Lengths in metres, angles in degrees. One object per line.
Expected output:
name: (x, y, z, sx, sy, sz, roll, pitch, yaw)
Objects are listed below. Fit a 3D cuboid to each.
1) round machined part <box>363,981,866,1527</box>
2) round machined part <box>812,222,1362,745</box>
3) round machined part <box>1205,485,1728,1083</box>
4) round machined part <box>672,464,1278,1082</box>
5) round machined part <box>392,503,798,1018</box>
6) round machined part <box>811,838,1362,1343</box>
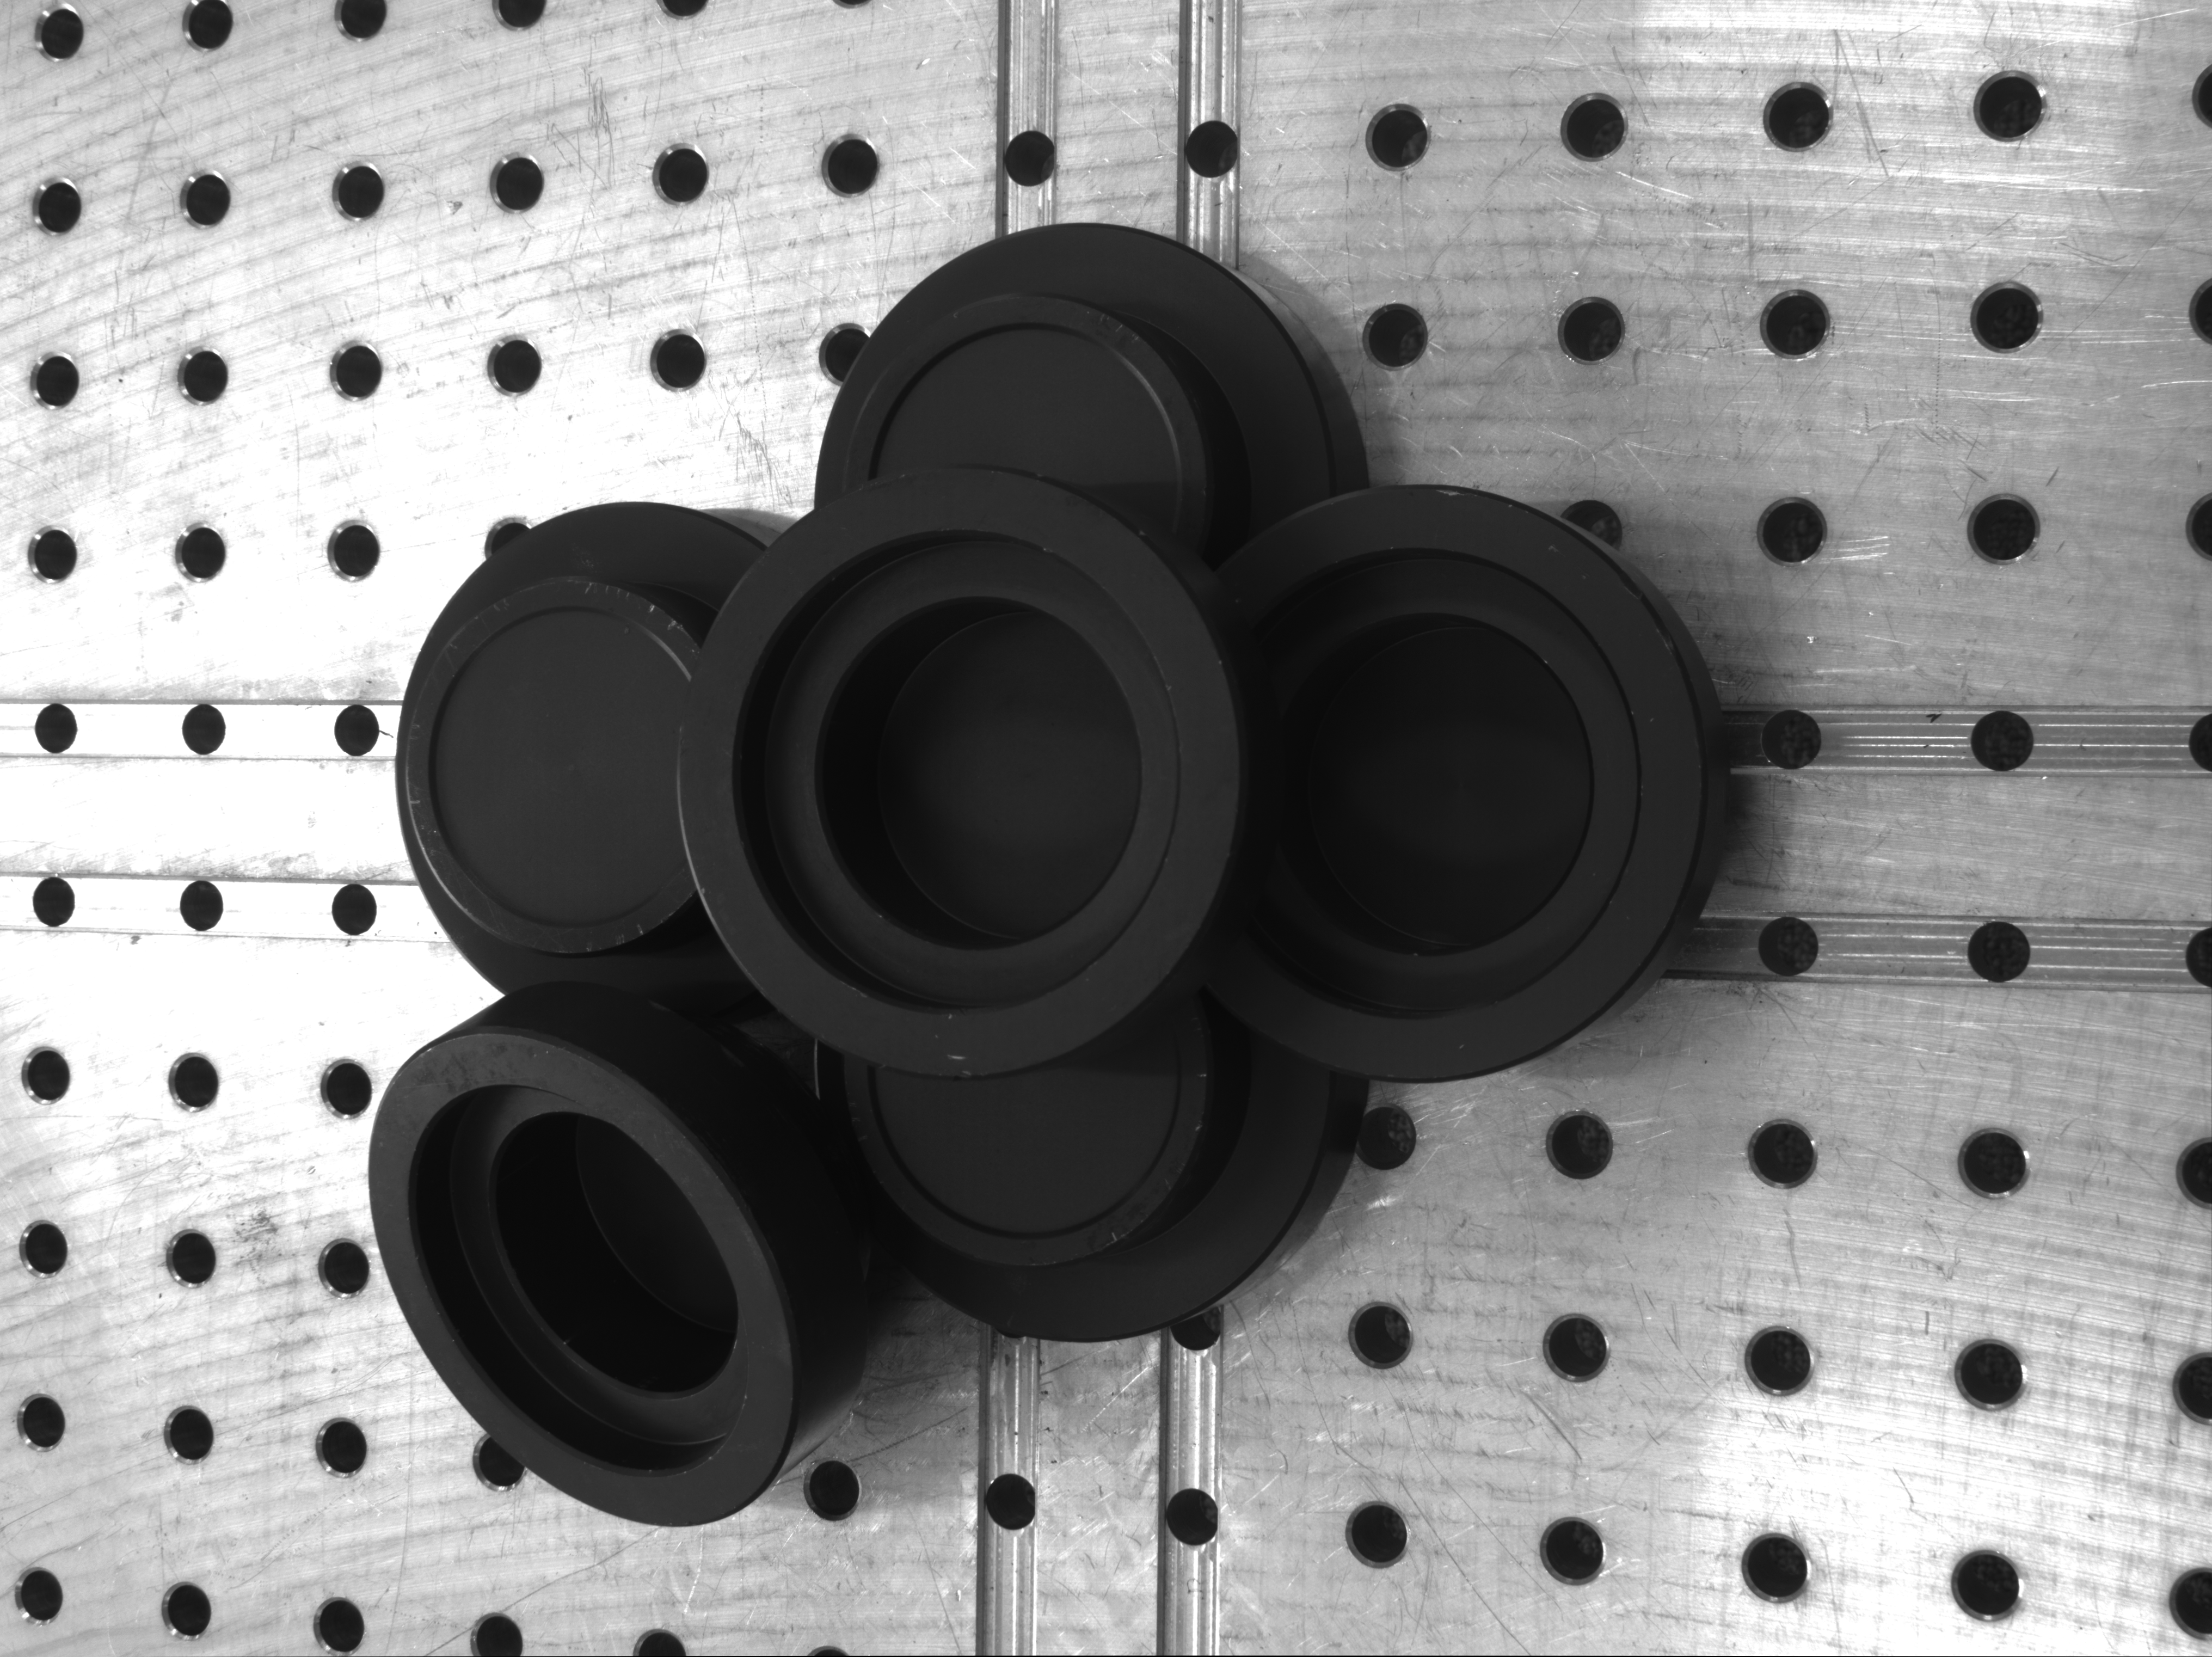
round machined part: (-0.082, 0.072, 0.656, 0.098, 0.042, 0.098, 15, 120, 29)
round machined part: (-0.007, -0.057, 0.643, 0.098, 0.042, 0.098, 0, 90, 20)
round machined part: (0.056, -0.007, 0.619, 0.098, 0.042, 0.098, 0, 90, 20)
round machined part: (-0.018, -0.009, 0.601, 0.098, 0.042, 0.098, 0, 90, 20)
round machined part: (-0.089, -0.011, 0.673, 0.098, 0.042, 0.098, 0, 90, 20)
round machined part: (-0.007, 0.041, 0.643, 0.098, 0.042, 0.098, 0, 90, 20)
